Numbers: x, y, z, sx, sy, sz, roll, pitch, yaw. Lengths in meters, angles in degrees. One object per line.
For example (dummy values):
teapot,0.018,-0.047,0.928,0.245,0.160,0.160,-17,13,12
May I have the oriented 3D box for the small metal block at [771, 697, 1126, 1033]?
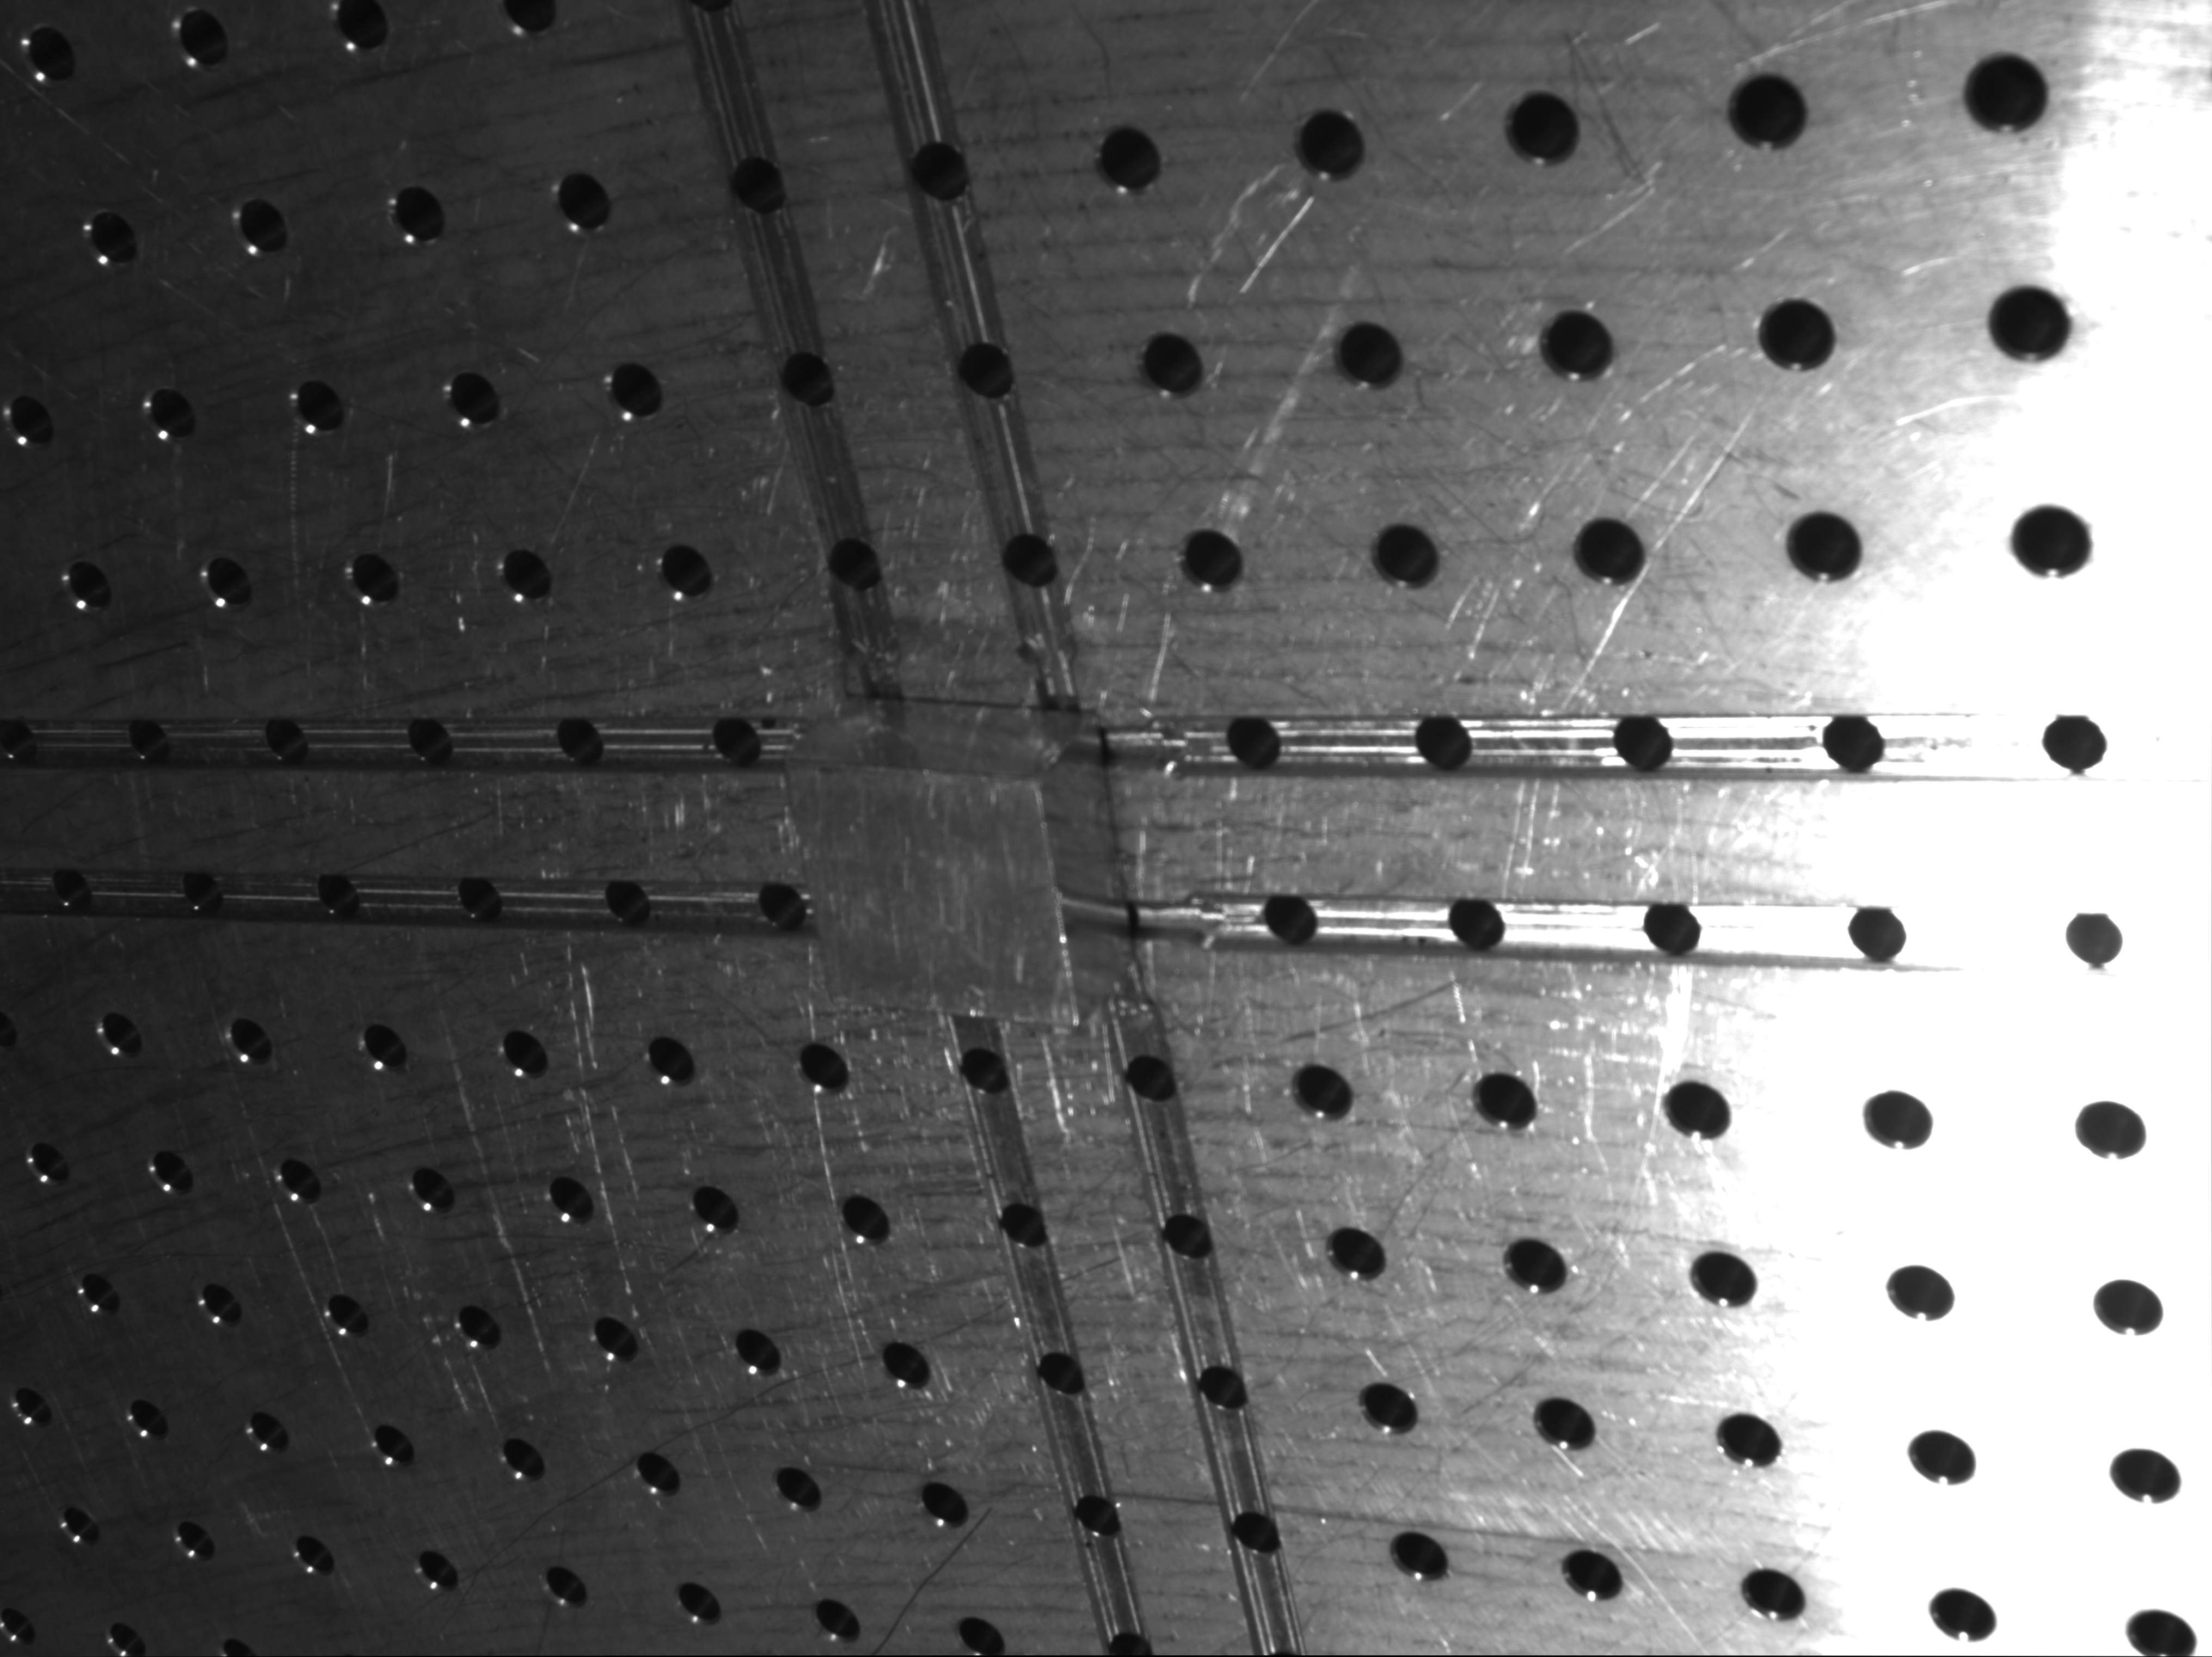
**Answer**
small metal block,-0.027,0.006,0.651,0.050,0.025,0.050,5,120,24
